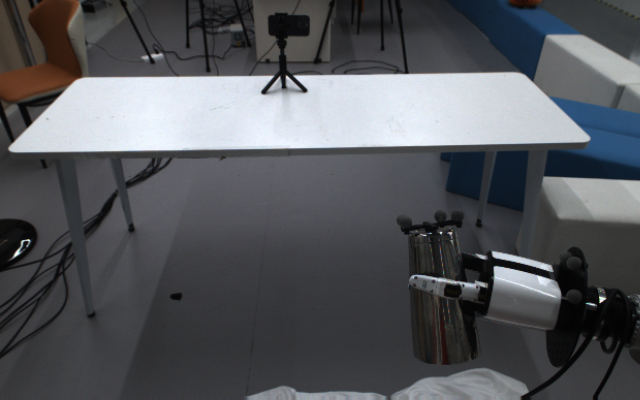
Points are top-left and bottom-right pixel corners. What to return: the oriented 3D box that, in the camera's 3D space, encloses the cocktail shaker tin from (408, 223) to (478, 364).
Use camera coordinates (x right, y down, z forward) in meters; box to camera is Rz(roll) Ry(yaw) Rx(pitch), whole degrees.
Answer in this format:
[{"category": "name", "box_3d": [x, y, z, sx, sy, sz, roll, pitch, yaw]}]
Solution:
[{"category": "cocktail shaker tin", "box_3d": [0.166, 0.127, 0.671, 0.093, 0.170, 0.093, -8, 1, 0]}]
